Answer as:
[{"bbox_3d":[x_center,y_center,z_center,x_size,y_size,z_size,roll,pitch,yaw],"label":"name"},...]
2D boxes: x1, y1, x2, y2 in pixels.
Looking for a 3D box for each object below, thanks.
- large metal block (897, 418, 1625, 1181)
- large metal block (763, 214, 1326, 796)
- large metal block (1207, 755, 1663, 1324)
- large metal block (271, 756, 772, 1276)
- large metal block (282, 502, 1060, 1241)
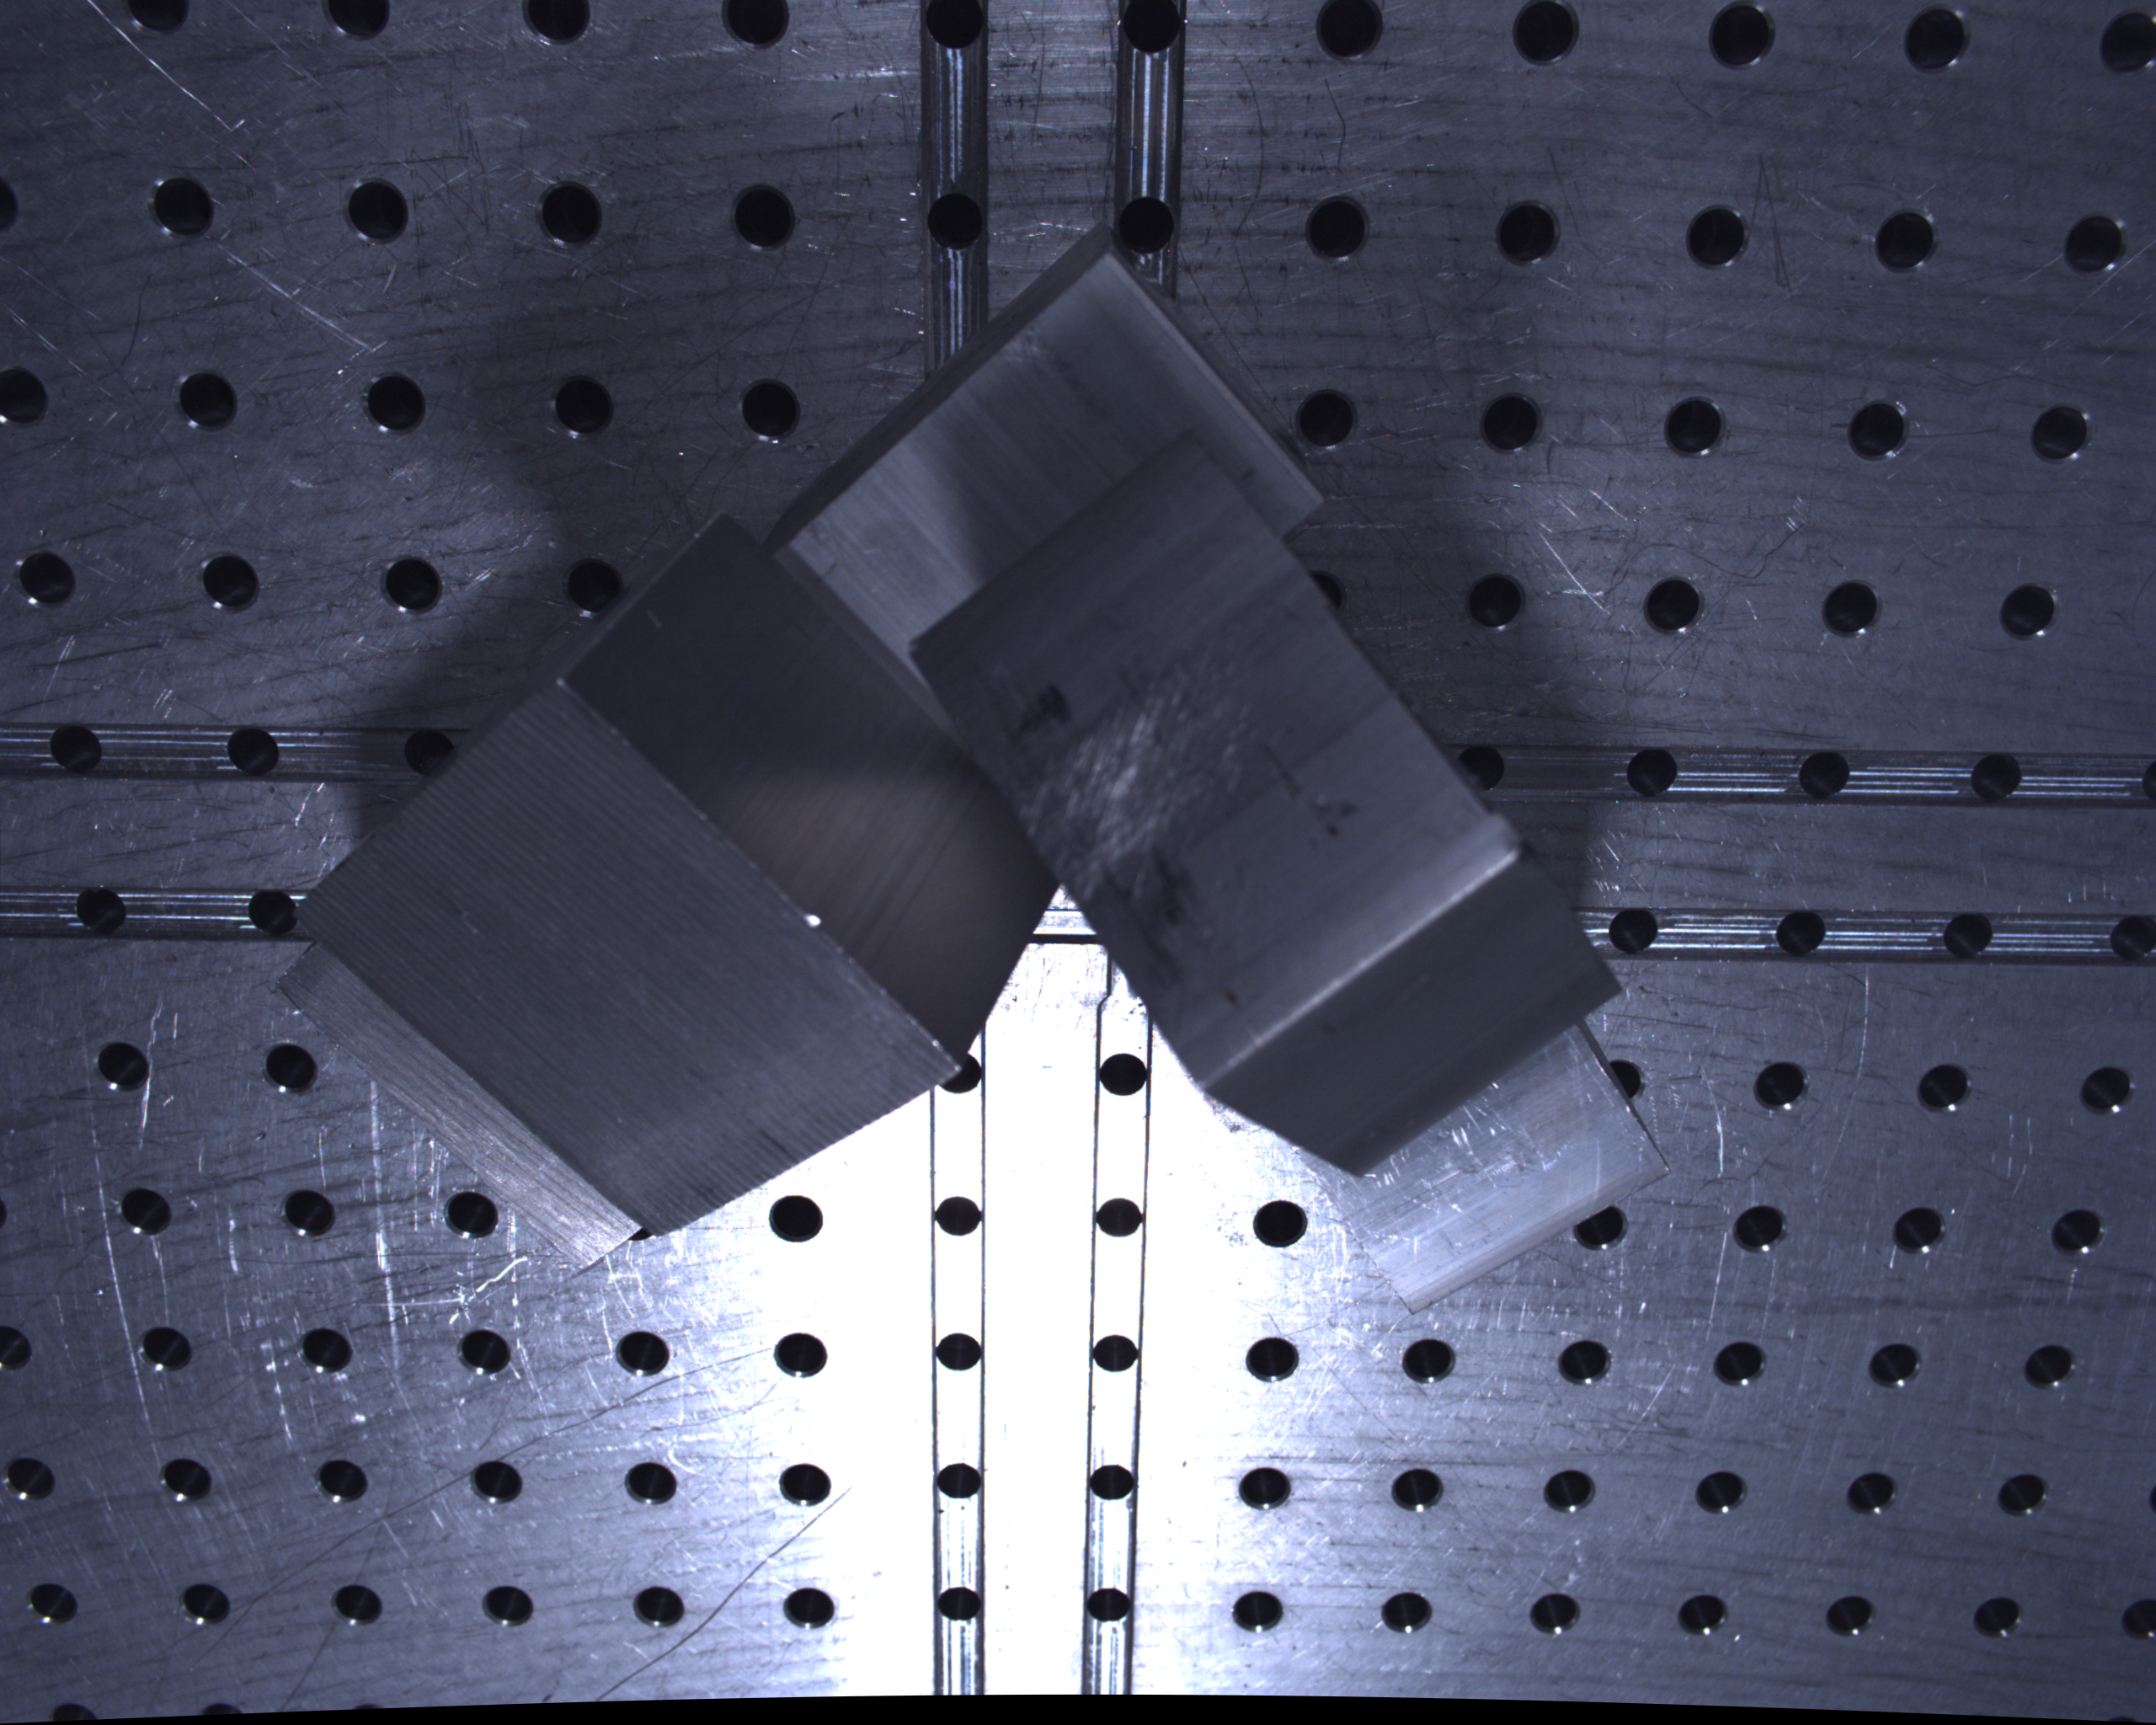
[{"bbox_3d":[0.029,-0.005,0.307,0.050,0.080,0.080,-38,64,8],"label":"large metal block"},{"bbox_3d":[-0.009,-0.063,0.359,0.080,0.080,0.050,-40,106,13],"label":"large metal block"},{"bbox_3d":[0.058,0.024,0.392,0.050,0.080,0.080,-32,107,11],"label":"large metal block"},{"bbox_3d":[-0.090,0.018,0.405,0.080,0.050,0.080,-38,106,12],"label":"large metal block"},{"bbox_3d":[-0.062,0.004,0.331,0.080,0.050,0.080,-32,109,37],"label":"large metal block"}]
